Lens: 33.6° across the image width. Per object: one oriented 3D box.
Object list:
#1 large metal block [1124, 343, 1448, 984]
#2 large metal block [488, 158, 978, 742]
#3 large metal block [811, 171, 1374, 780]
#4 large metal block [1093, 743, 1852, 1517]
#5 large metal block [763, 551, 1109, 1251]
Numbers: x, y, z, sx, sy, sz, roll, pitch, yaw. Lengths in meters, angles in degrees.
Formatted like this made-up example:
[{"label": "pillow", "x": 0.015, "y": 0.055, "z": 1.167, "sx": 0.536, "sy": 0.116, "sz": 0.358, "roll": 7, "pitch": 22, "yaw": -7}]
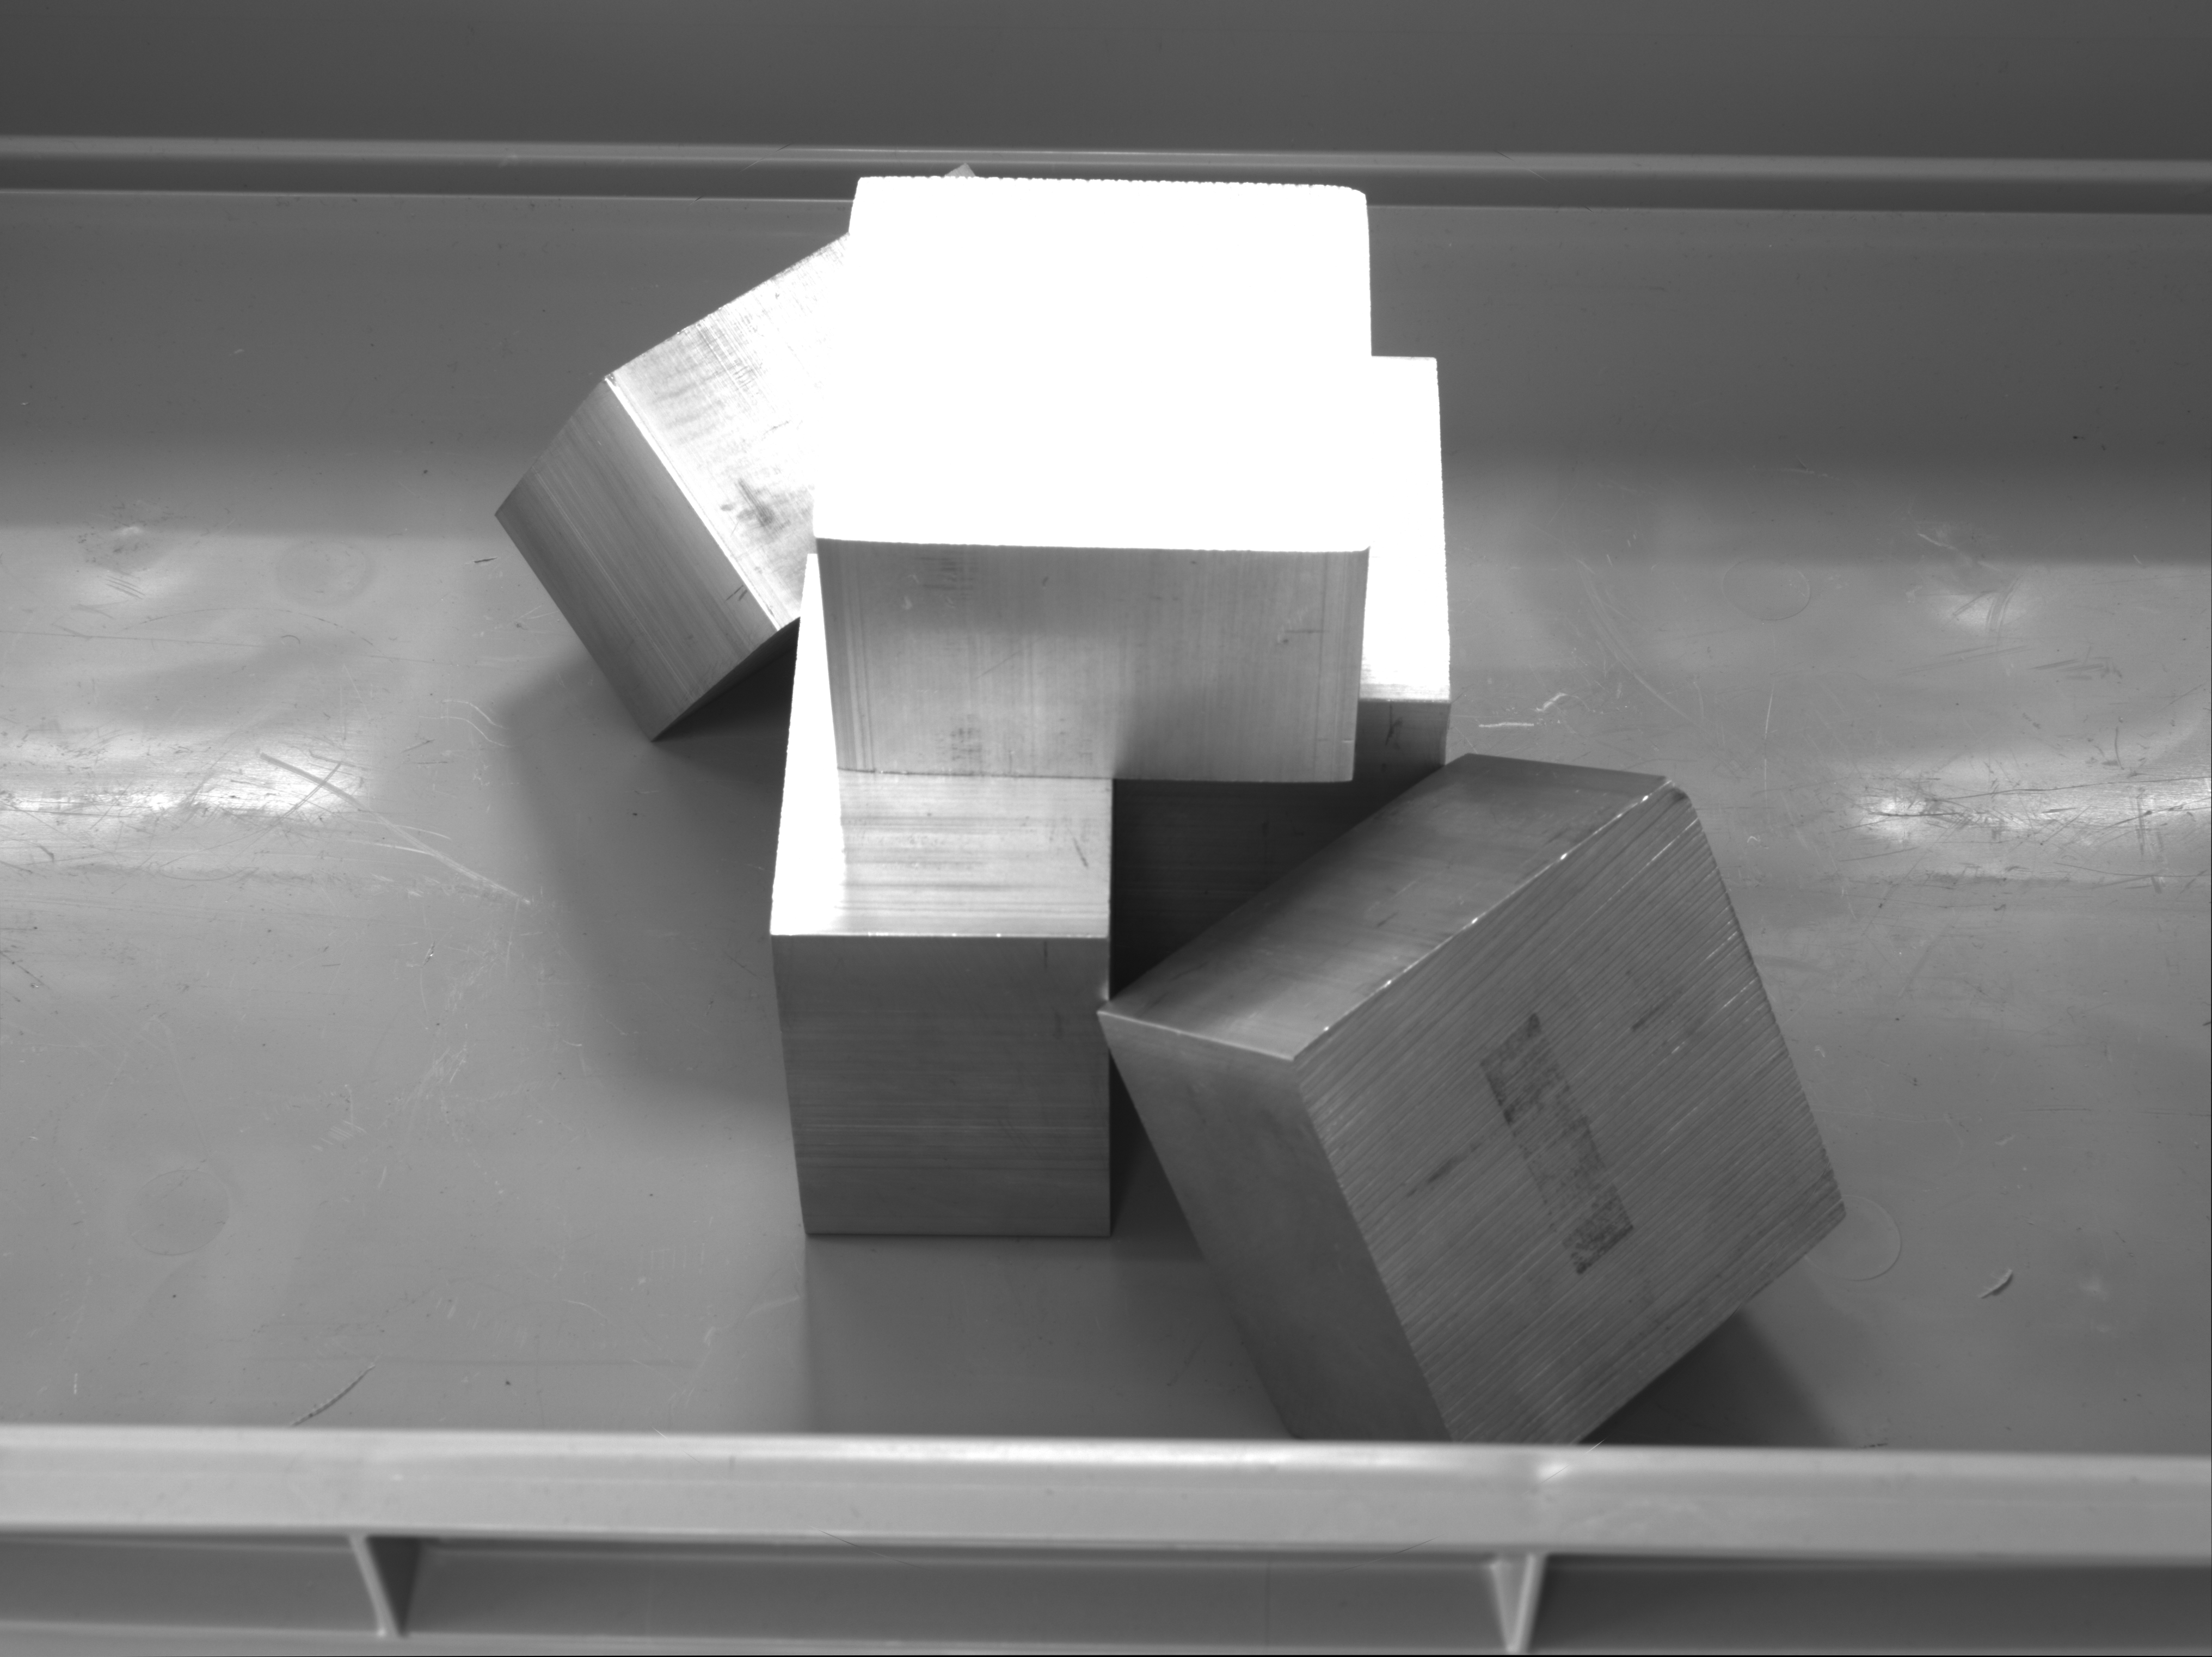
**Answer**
[{"label": "large metal block", "x": 0.029, "y": -0.026, "z": 0.625, "sx": 0.050, "sy": 0.080, "sz": 0.080, "roll": 1, "pitch": 49, "yaw": 1}, {"label": "large metal block", "x": -0.054, "y": -0.066, "z": 0.650, "sx": 0.080, "sy": 0.080, "sz": 0.050, "roll": -35, "pitch": 93, "yaw": -26}, {"label": "large metal block", "x": 0.000, "y": -0.055, "z": 0.565, "sx": 0.080, "sy": 0.050, "sz": 0.080, "roll": 1, "pitch": 50, "yaw": 1}, {"label": "large metal block", "x": 0.057, "y": 0.043, "z": 0.558, "sx": 0.080, "sy": 0.080, "sz": 0.050, "roll": -34, "pitch": 22, "yaw": -25}, {"label": "large metal block", "x": -0.024, "y": 0.012, "z": 0.595, "sx": 0.050, "sy": 0.080, "sz": 0.080, "roll": 1, "pitch": 49, "yaw": 1}]
